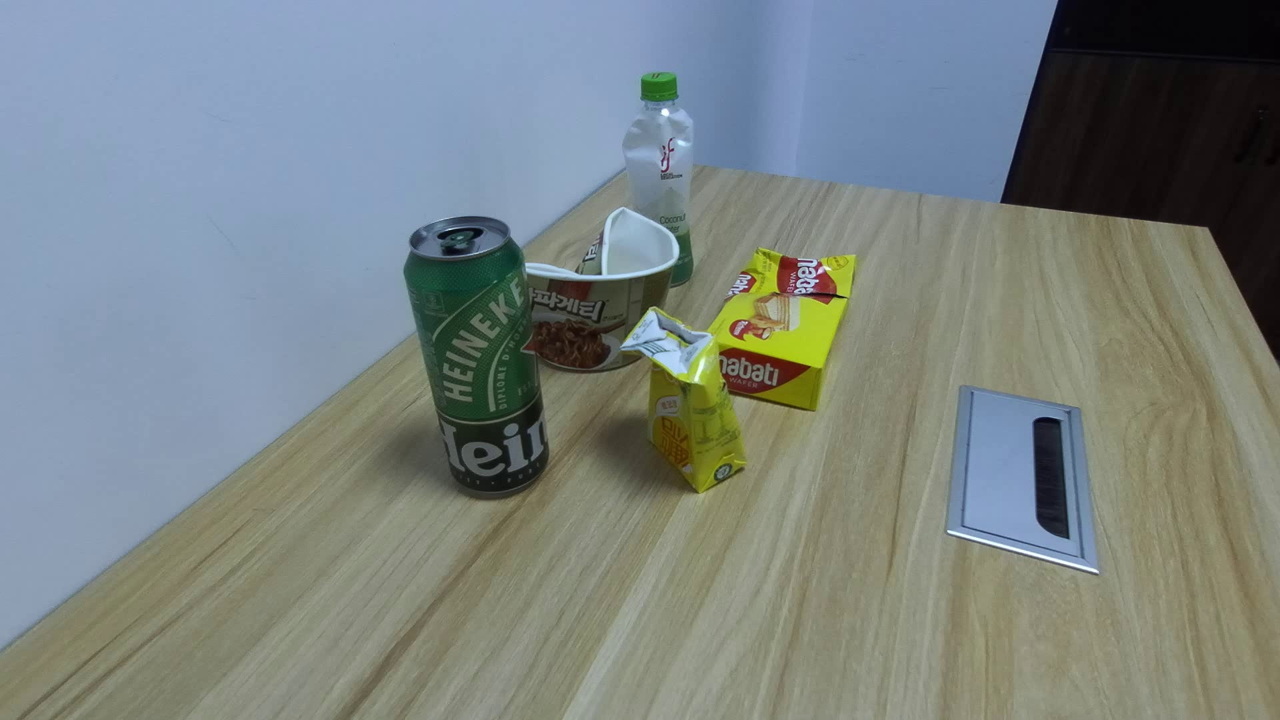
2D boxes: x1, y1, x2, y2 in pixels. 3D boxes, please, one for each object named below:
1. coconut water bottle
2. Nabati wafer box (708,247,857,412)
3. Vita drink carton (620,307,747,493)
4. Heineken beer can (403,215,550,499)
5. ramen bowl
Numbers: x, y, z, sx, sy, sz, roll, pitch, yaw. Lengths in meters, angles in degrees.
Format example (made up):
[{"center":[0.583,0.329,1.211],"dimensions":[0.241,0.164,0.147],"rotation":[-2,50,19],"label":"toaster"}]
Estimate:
[{"center":[0.020,-0.162,0.645],"dimensions":[0.069,0.186,0.069],"rotation":[0,36,1],"label":"coconut water bottle"},{"center":[0.119,-0.040,0.598],"dimensions":[0.106,0.042,0.204],"rotation":[13,35,18],"label":"Nabati wafer box"},{"center":[0.027,0.025,0.448],"dimensions":[0.042,0.108,0.086],"rotation":[-30,37,-15],"label":"Vita drink carton"},{"center":[-0.096,0.003,0.432],"dimensions":[0.067,0.169,0.067],"rotation":[-1,34,1],"label":"Heineken beer can"},{"center":[-0.037,-0.054,0.573],"dimensions":[0.137,0.098,0.137],"rotation":[-3,37,2],"label":"ramen bowl"}]
